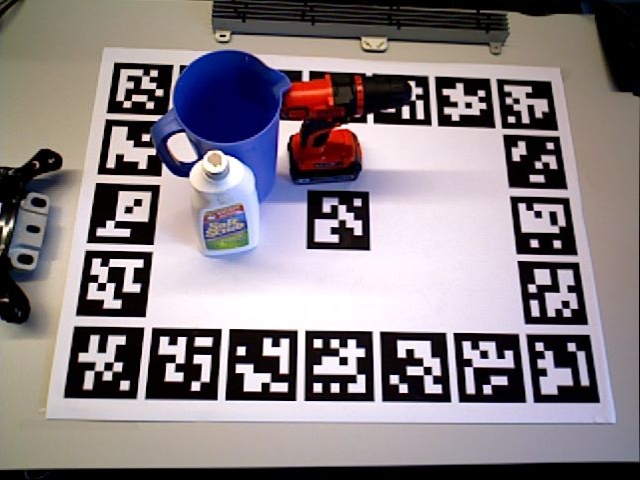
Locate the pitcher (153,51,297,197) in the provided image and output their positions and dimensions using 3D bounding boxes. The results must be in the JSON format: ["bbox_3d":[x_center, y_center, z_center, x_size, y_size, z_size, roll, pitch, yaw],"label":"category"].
[{"bbox_3d":[-0.120,-0.138,0.741,0.187,0.246,0.133,-25,77,-11],"label":"pitcher"}]

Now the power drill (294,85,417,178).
[{"bbox_3d":[0.046,-0.149,0.763,0.183,0.190,0.057,-2,75,-10],"label":"power drill"}]

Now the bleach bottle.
[{"bbox_3d":[-0.129,-0.048,0.692,0.102,0.254,0.067,-6,72,-6],"label":"bleach bottle"}]
